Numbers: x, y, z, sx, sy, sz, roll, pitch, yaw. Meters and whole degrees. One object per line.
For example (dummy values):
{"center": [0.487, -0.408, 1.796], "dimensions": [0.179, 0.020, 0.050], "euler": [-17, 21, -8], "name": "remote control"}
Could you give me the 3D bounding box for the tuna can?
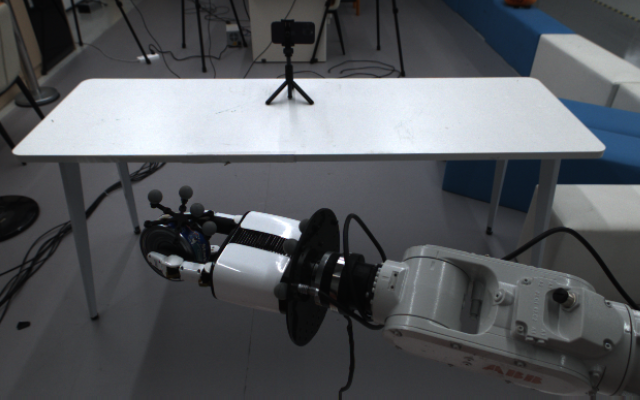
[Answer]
{"center": [-0.181, 0.067, 0.610], "dimensions": [0.085, 0.085, 0.034], "euler": [15, 30, 18], "name": "tuna can"}
